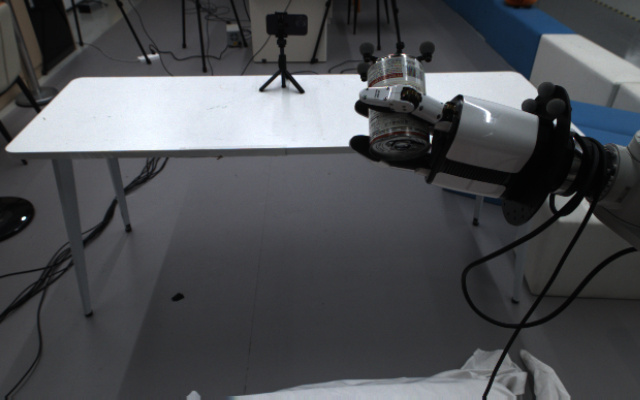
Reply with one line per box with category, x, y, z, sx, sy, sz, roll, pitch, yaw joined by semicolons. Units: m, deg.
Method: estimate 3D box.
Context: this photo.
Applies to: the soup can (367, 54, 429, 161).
soup can;0.090;-0.104;0.549;0.067;0.067;0.101;1;72;-2
